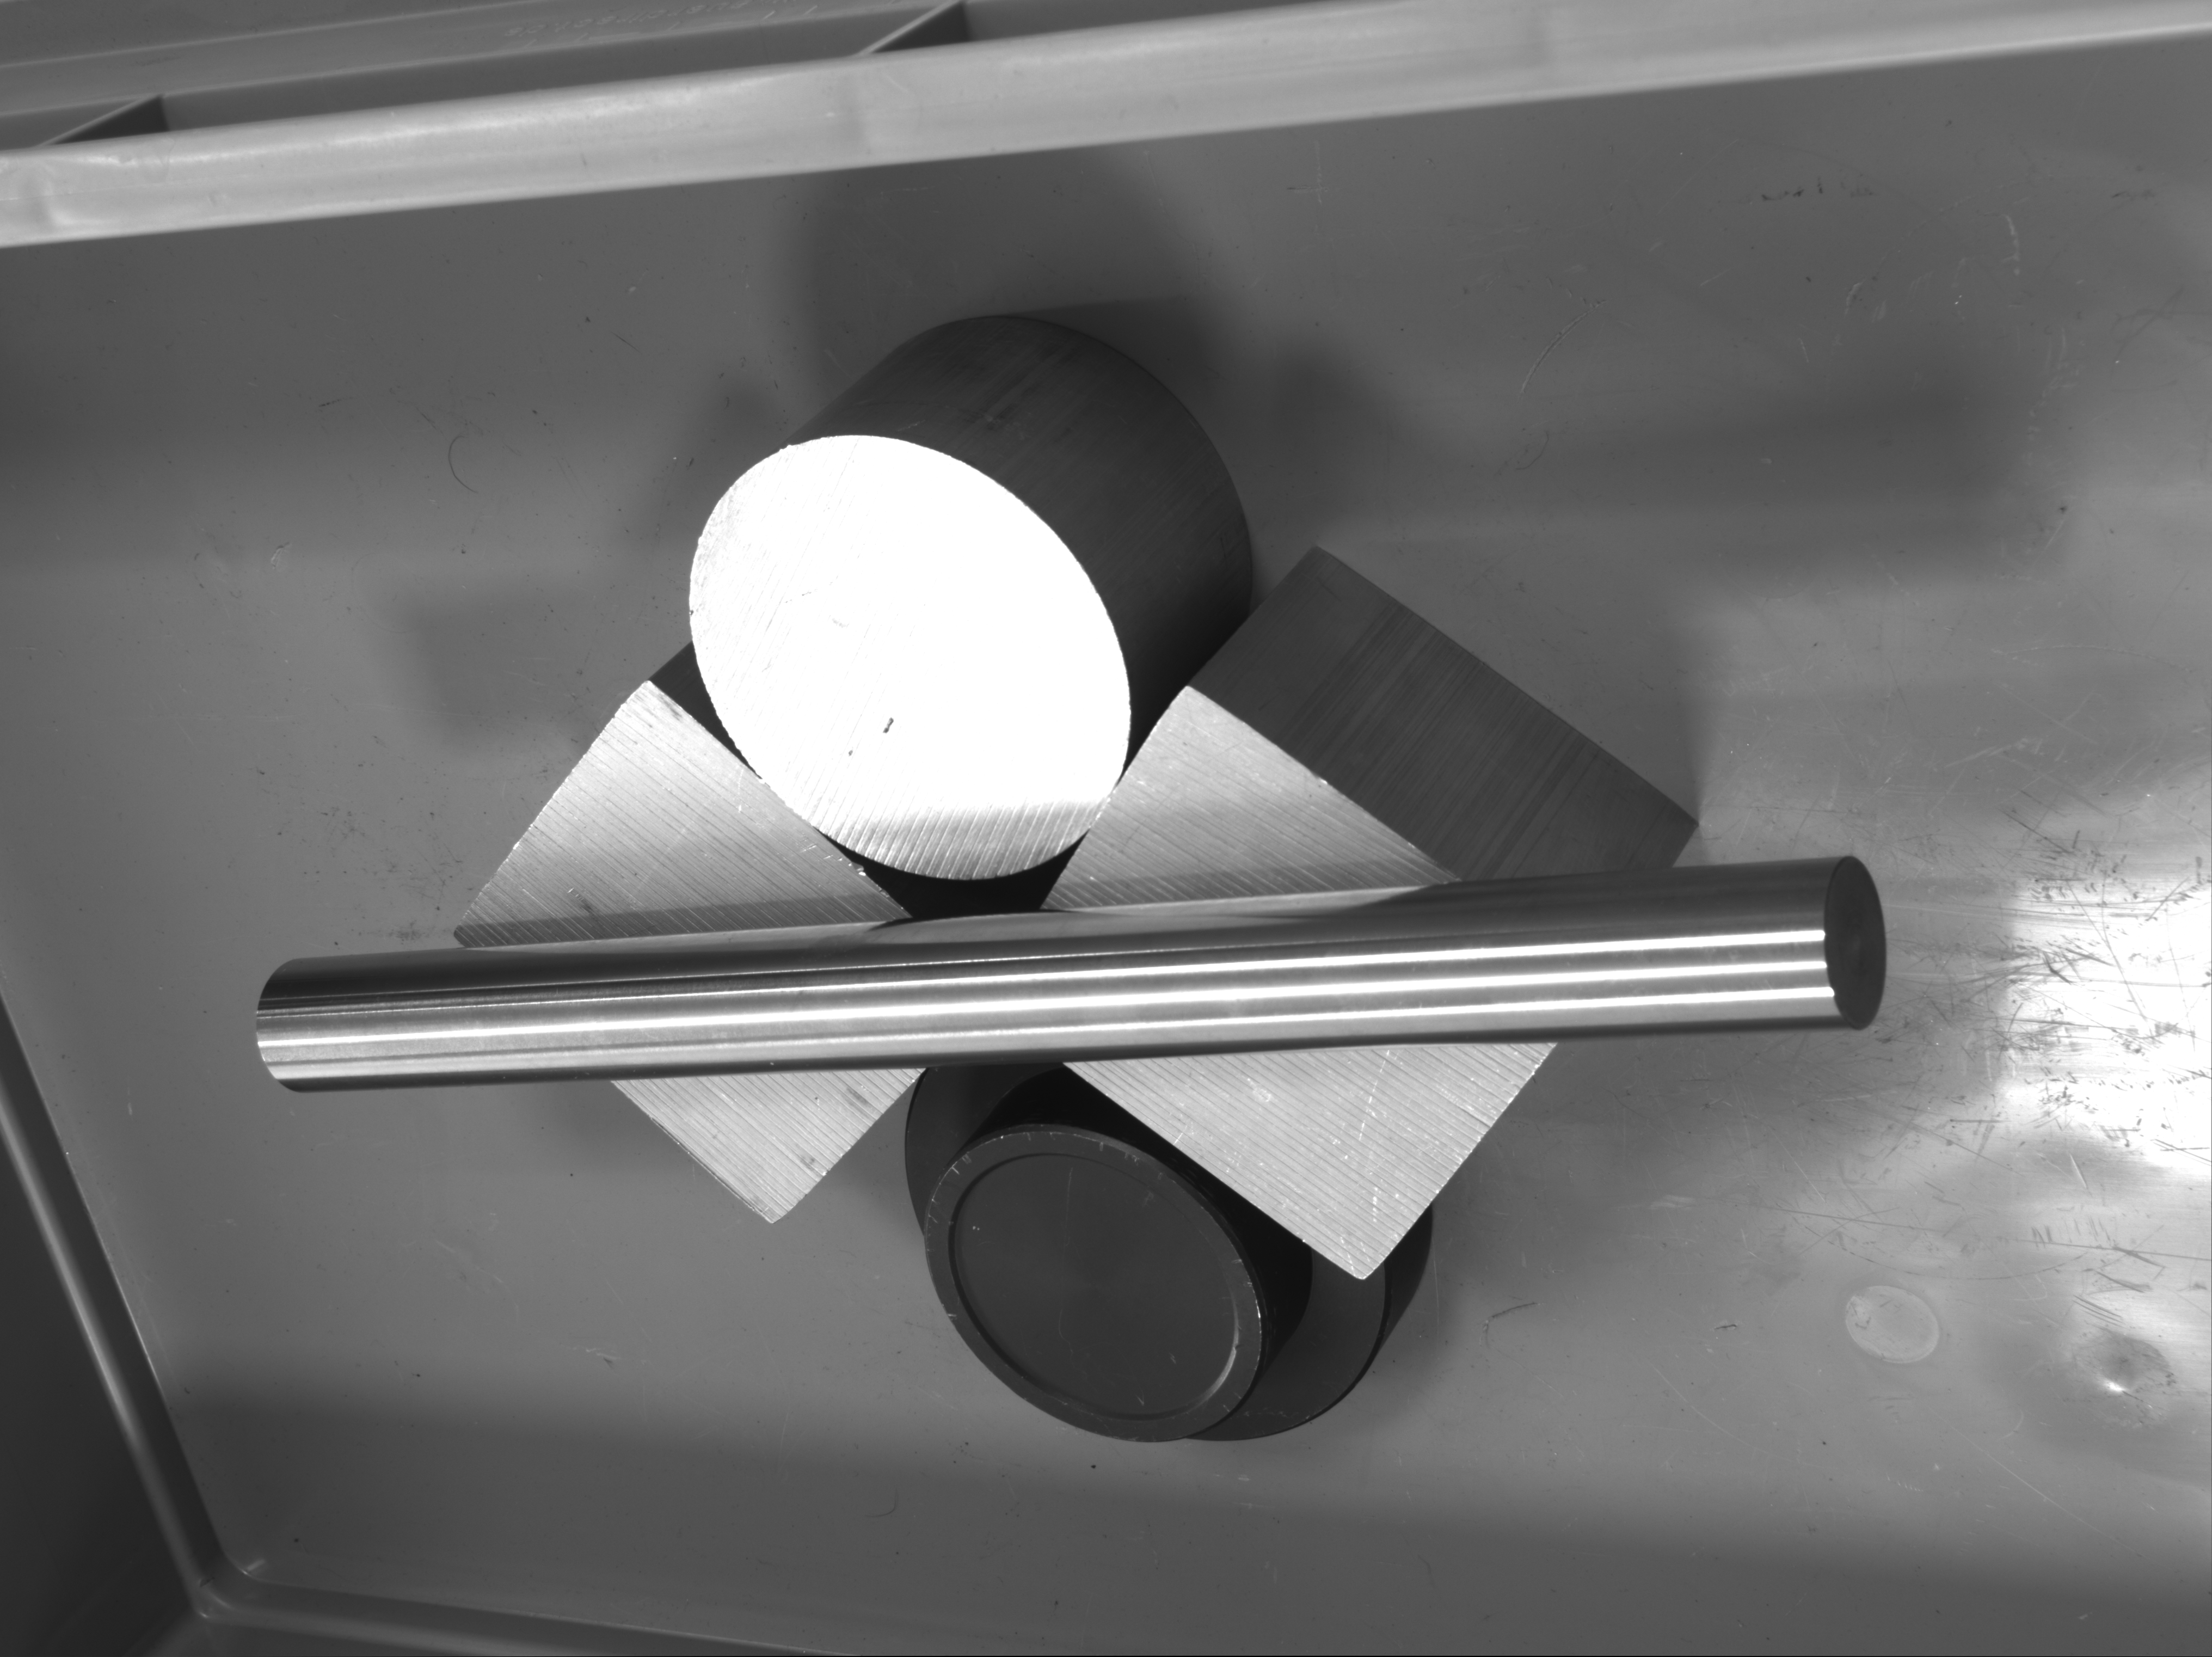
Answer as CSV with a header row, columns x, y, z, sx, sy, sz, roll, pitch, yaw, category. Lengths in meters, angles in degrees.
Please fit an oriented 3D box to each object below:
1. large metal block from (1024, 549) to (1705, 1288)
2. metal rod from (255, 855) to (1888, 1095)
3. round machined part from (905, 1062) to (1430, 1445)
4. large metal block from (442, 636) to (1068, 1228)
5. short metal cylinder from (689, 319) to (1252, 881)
x,y,z,sx,sy,sz,roll,pitch,yaw,category
0.039,0.015,0.610,0.080,0.050,0.080,36,130,4,large metal block
-0.020,0.027,0.601,0.299,0.025,0.025,-5,116,31,metal rod
0.006,0.073,0.671,0.098,0.042,0.098,13,124,21,round machined part
-0.060,0.012,0.664,0.080,0.050,0.080,42,129,-2,large metal block
-0.022,-0.038,0.613,0.080,0.050,0.080,13,124,21,short metal cylinder
